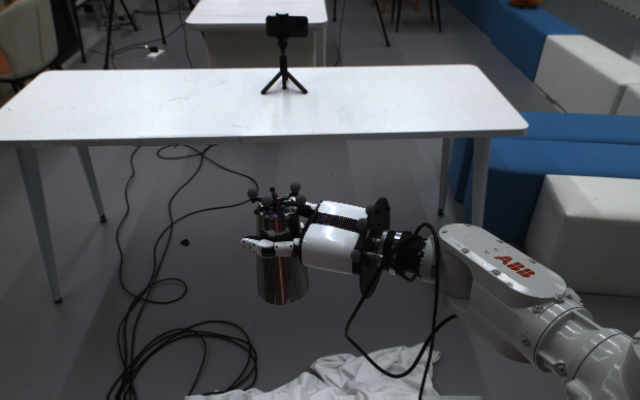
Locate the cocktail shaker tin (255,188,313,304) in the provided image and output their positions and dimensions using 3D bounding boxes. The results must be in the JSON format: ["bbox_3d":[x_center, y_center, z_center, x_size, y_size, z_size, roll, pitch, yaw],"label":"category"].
[{"bbox_3d":[-0.064,0.079,0.816,0.093,0.170,0.093,-1,32,1],"label":"cocktail shaker tin"}]
